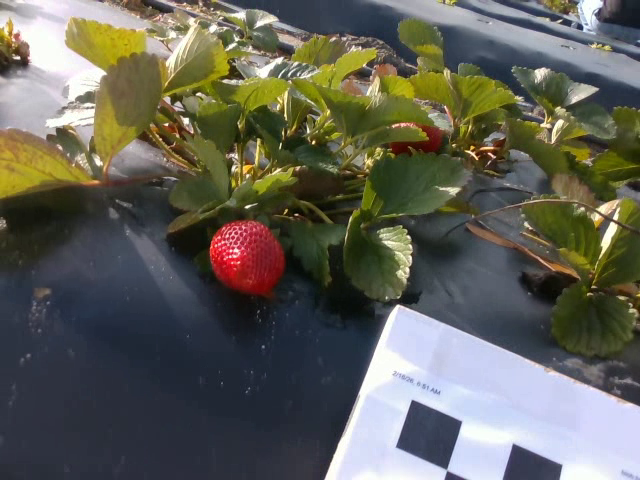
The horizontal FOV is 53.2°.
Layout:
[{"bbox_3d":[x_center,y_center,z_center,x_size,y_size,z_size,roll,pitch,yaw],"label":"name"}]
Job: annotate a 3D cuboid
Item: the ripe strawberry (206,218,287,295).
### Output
[{"bbox_3d":[-0.031,0.008,0.267,0.041,0.041,0.047,-8,10,3],"label":"ripe strawberry"}]
